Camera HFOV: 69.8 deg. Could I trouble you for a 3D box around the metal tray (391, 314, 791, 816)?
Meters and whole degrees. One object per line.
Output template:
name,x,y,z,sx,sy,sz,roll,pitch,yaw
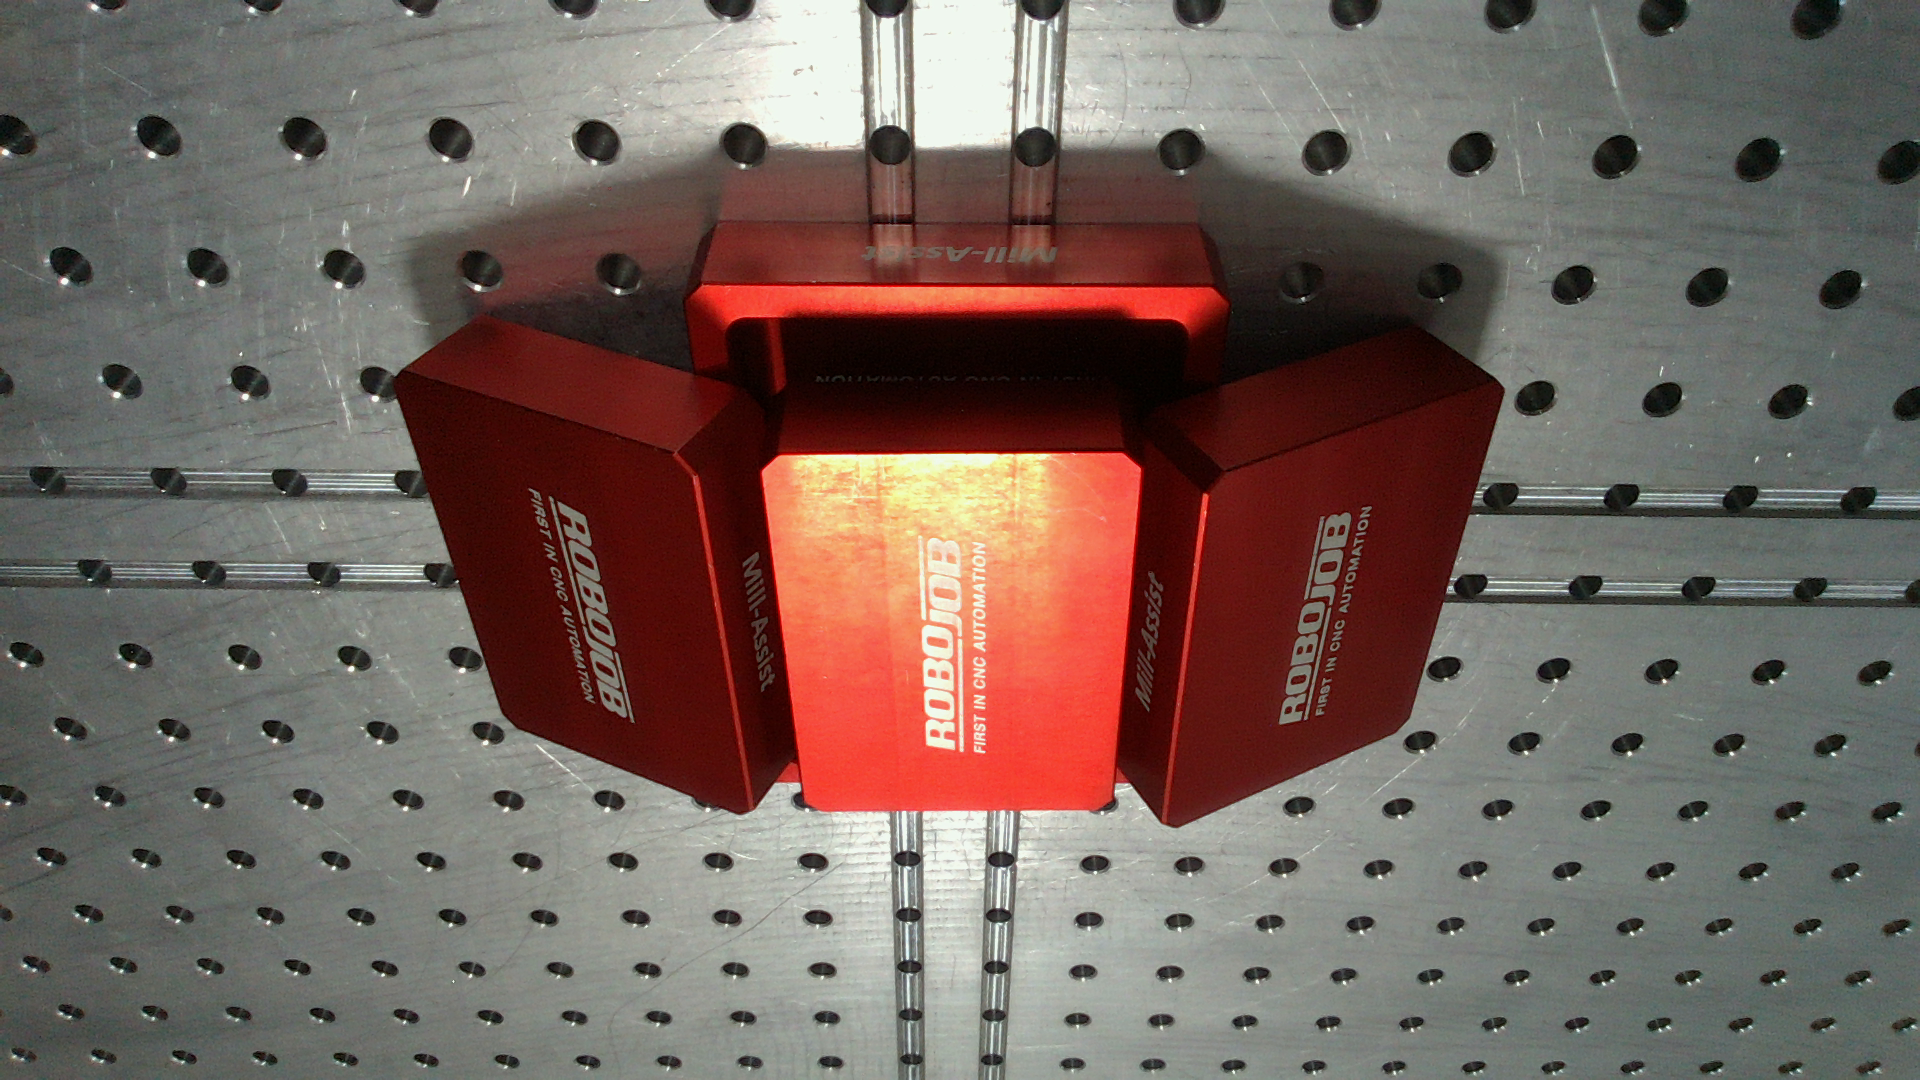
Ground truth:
metal tray,-0.094,0.010,0.375,0.090,0.030,0.130,17,134,20

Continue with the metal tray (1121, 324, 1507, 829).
metal tray,0.091,0.013,0.377,0.090,0.030,0.130,-19,133,-20

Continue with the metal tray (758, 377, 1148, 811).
metal tray,-0.001,0.019,0.367,0.090,0.030,0.130,-1,130,0

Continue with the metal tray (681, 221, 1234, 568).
metal tray,-0.001,-0.036,0.360,0.130,0.030,0.090,0,131,0

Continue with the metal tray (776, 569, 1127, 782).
metal tray,0.001,0.034,0.419,0.130,0.030,0.090,0,131,0
